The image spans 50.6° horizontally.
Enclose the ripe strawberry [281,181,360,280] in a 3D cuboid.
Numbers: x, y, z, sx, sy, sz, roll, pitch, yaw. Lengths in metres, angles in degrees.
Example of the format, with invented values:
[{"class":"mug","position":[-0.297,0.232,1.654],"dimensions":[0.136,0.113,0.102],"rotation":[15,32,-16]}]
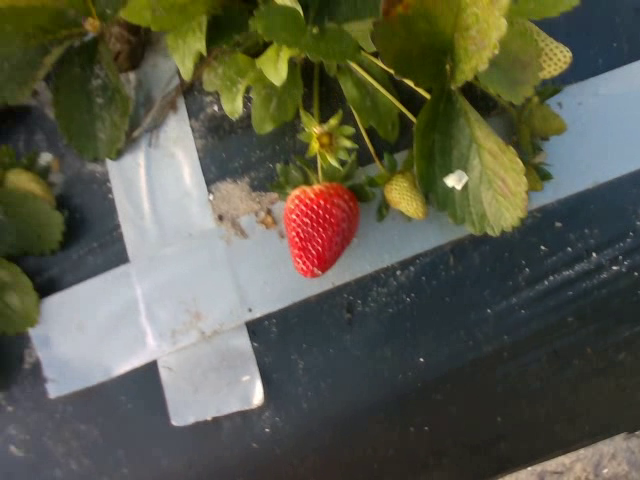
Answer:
[{"class":"ripe strawberry","position":[0.000,-0.002,0.157],"dimensions":[0.023,0.026,0.020],"rotation":[-8,-30,27]}]
